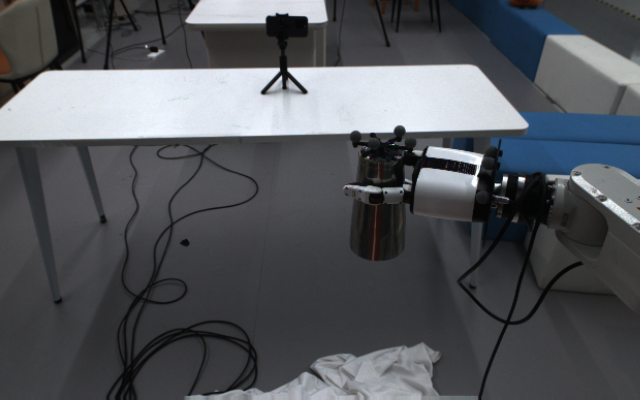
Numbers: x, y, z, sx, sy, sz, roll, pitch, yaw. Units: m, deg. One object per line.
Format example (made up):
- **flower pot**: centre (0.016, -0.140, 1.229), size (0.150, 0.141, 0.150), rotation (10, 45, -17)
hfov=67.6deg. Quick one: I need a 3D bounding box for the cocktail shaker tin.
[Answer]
- **cocktail shaker tin**: centre (0.097, -0.004, 0.758), size (0.093, 0.170, 0.093), rotation (-1, 32, 1)
